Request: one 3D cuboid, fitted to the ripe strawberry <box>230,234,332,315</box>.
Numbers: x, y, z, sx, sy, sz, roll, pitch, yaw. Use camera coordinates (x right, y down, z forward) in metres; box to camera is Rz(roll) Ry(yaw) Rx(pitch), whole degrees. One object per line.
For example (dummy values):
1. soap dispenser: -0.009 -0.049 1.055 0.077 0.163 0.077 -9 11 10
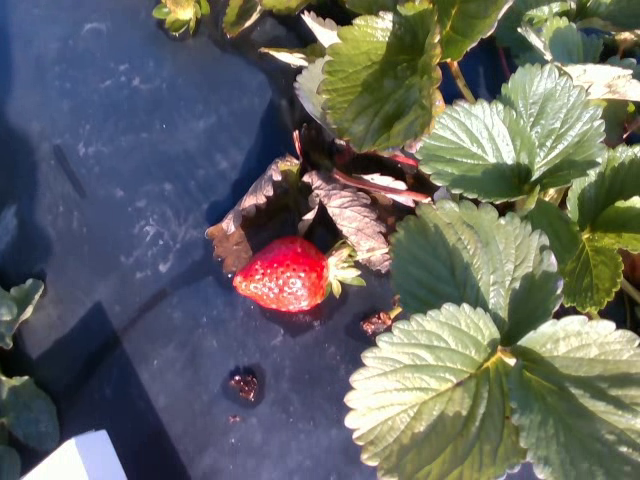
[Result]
1. ripe strawberry: -0.023 0.019 0.271 0.054 0.046 0.038 -10 -10 -14
